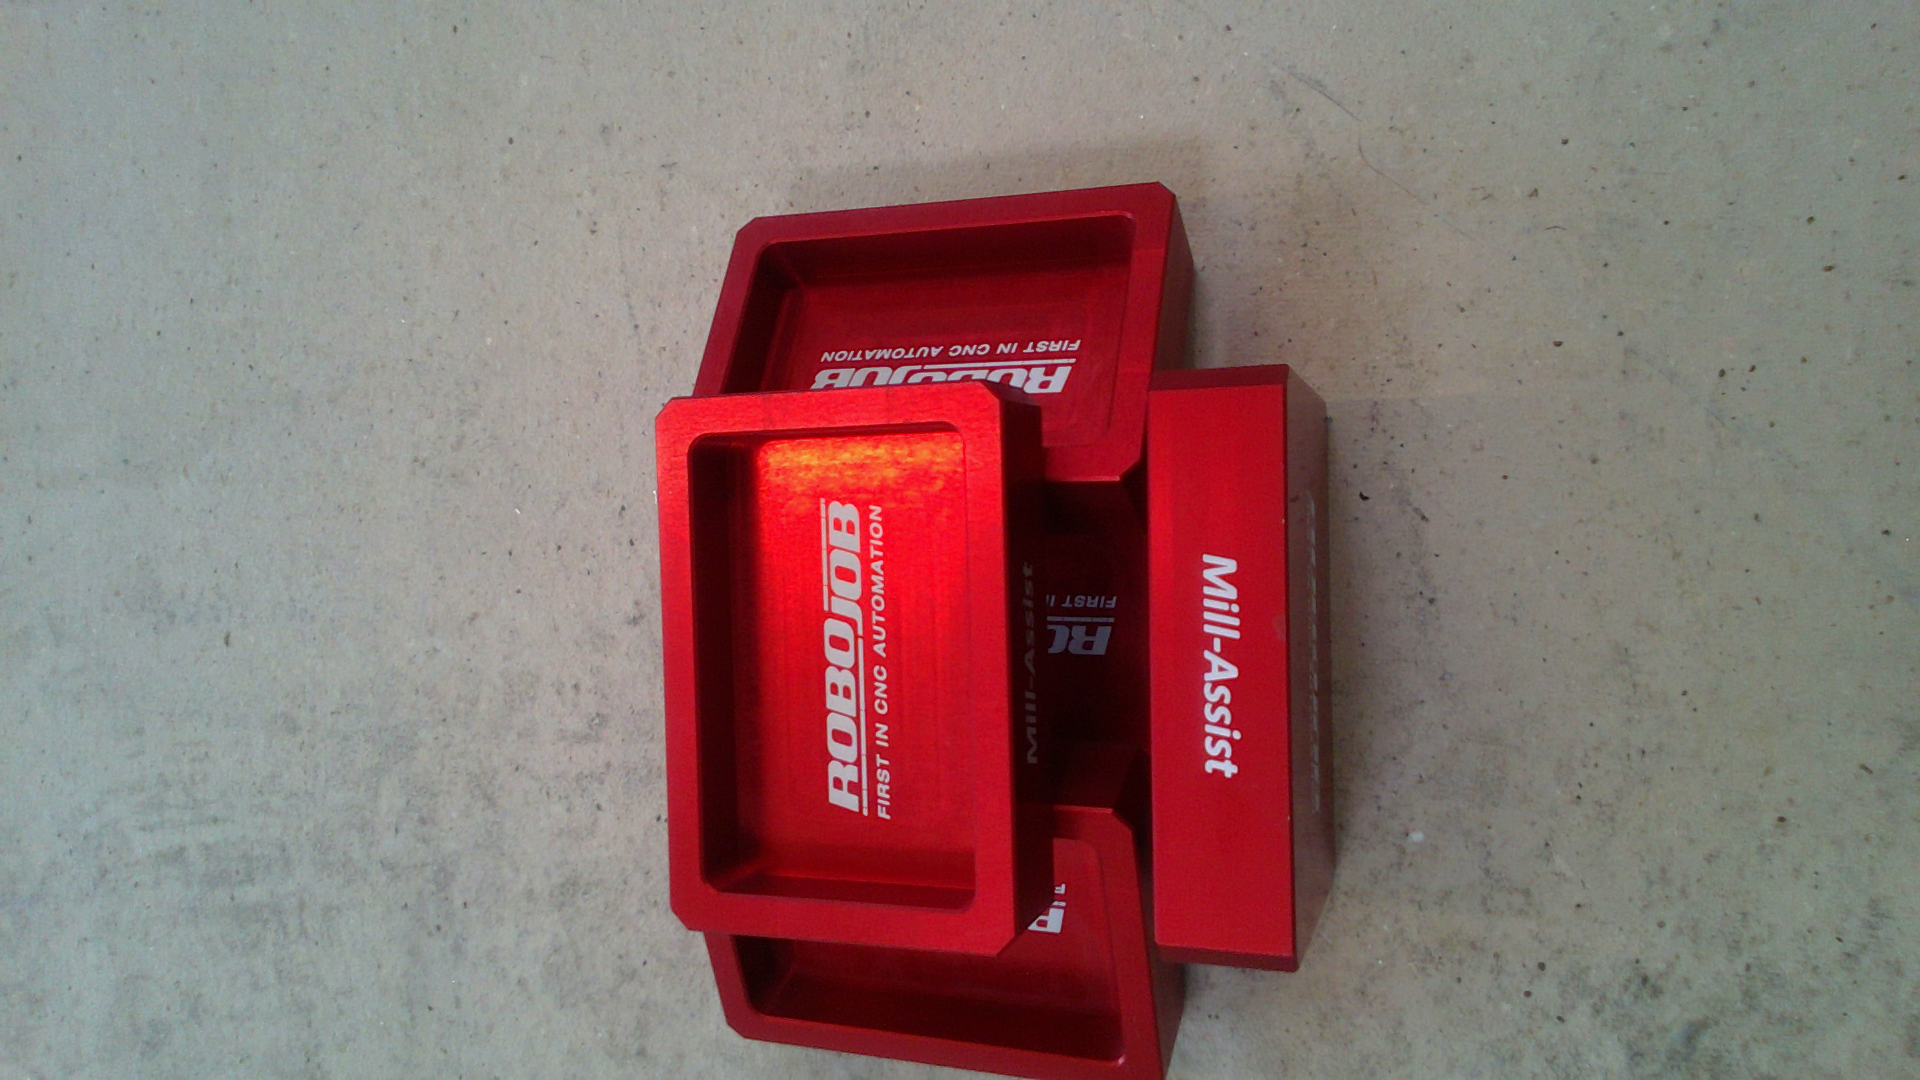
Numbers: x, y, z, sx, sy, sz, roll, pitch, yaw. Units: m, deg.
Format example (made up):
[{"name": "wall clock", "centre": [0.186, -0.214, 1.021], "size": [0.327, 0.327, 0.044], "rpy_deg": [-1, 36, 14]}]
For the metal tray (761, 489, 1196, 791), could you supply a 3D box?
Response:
[{"name": "metal tray", "centre": [0.004, 0.022, 0.390], "size": [0.130, 0.030, 0.090], "rpy_deg": [-1, 91, 20]}]

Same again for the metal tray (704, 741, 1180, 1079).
[{"name": "metal tray", "centre": [-0.009, 0.099, 0.379], "size": [0.130, 0.030, 0.090], "rpy_deg": [0, 115, 20]}]

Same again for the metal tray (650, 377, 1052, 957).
[{"name": "metal tray", "centre": [-0.027, 0.029, 0.334], "size": [0.090, 0.030, 0.130], "rpy_deg": [-1, 92, 20]}]

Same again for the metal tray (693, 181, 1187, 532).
[{"name": "metal tray", "centre": [-0.007, -0.048, 0.377], "size": [0.130, 0.030, 0.090], "rpy_deg": [0, 63, 19]}]

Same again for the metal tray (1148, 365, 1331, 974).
[{"name": "metal tray", "centre": [0.071, 0.028, 0.335], "size": [0.030, 0.090, 0.130], "rpy_deg": [-1, 90, 20]}]
